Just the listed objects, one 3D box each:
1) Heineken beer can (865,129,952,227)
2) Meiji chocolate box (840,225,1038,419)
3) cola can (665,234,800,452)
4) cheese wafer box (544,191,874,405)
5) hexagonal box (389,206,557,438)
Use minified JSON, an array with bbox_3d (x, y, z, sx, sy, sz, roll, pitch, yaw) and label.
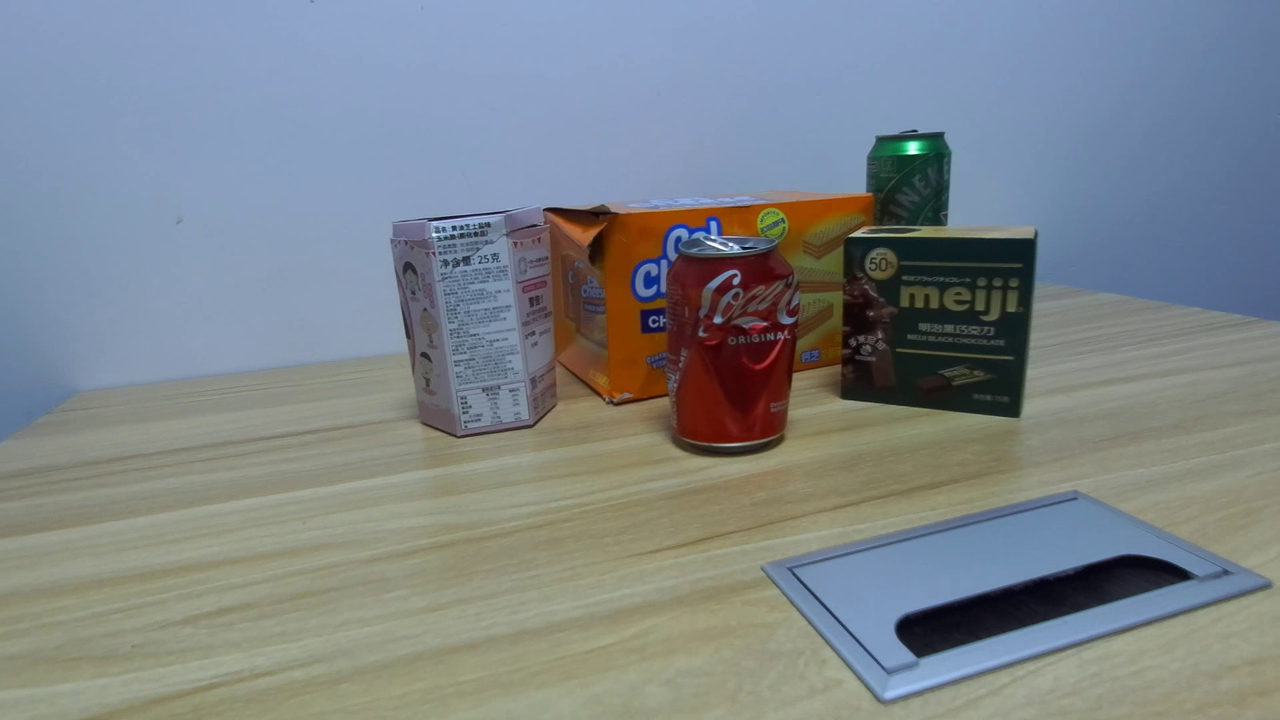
[{"bbox_3d":[0.224,-0.102,0.599,0.067,0.169,0.067,-2,13,1],"label":"Heineken beer can"},{"bbox_3d":[0.188,-0.027,0.449,0.109,0.109,0.056,6,19,27],"label":"Meiji chocolate box"},{"bbox_3d":[0.049,-0.011,0.399,0.067,0.117,0.065,-12,18,-30],"label":"cola can"},{"bbox_3d":[0.051,-0.063,0.560,0.228,0.137,0.149,-9,17,-21],"label":"cheese wafer box"},{"bbox_3d":[-0.104,-0.028,0.461,0.085,0.135,0.092,1,16,16],"label":"hexagonal box"}]
